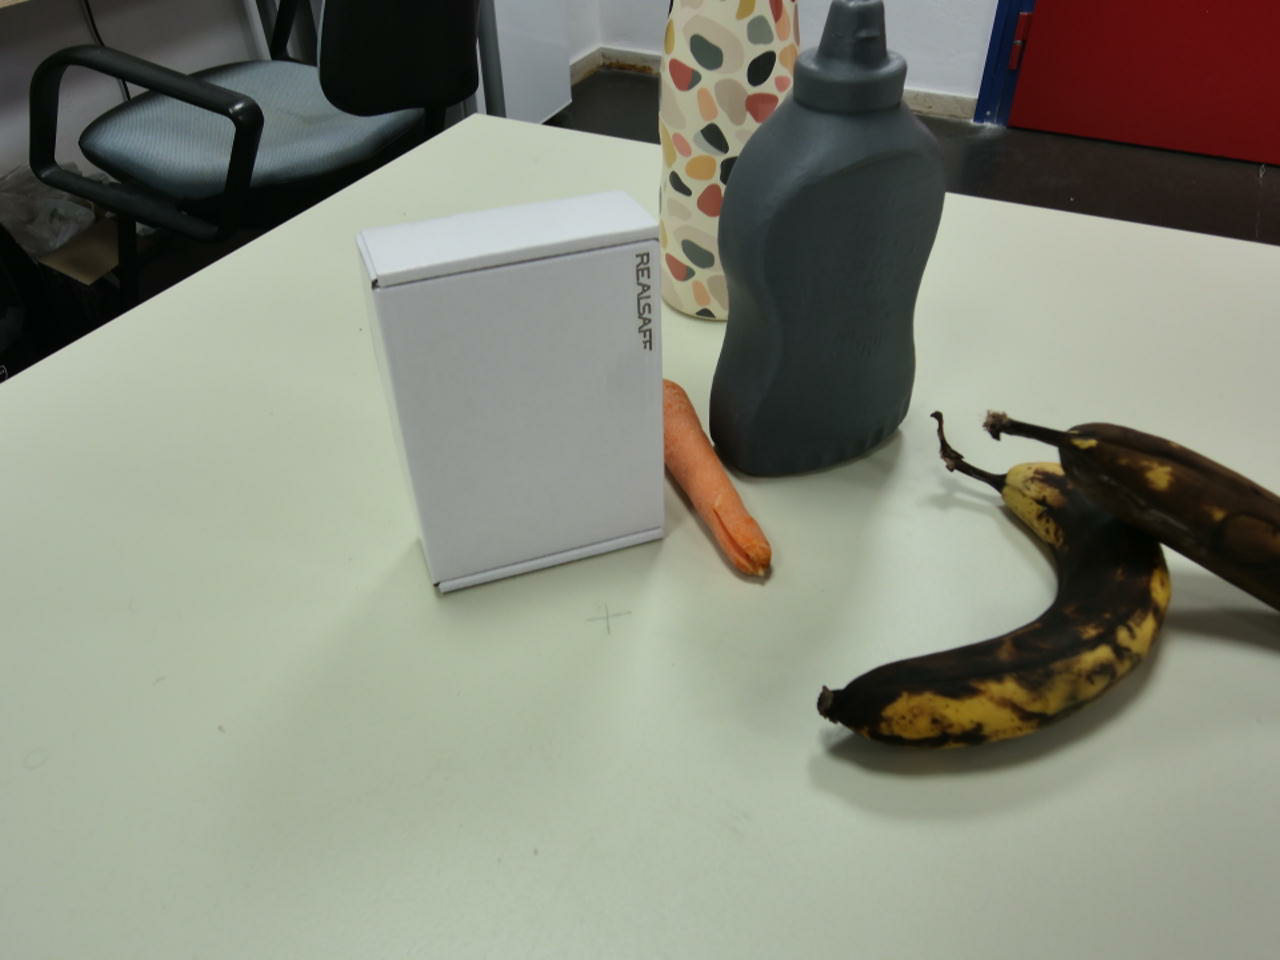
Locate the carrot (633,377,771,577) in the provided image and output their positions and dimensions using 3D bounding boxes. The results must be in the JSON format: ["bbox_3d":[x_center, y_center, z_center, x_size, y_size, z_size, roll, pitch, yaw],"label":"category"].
[{"bbox_3d":[0.027,-0.006,0.470,0.030,0.032,0.136,-12,38,-14],"label":"carrot"}]
